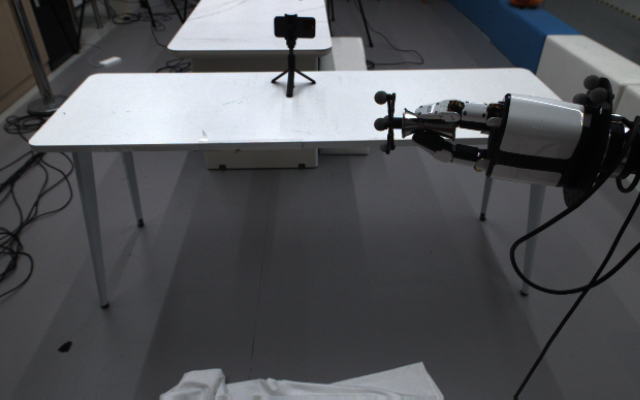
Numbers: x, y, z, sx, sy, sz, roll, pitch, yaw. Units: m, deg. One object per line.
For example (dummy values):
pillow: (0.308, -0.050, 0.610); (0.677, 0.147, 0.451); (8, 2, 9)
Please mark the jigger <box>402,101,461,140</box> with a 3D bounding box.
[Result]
jigger: (0.152, -0.105, 0.645); (0.071, 0.043, 0.043); (3, 34, 16)
